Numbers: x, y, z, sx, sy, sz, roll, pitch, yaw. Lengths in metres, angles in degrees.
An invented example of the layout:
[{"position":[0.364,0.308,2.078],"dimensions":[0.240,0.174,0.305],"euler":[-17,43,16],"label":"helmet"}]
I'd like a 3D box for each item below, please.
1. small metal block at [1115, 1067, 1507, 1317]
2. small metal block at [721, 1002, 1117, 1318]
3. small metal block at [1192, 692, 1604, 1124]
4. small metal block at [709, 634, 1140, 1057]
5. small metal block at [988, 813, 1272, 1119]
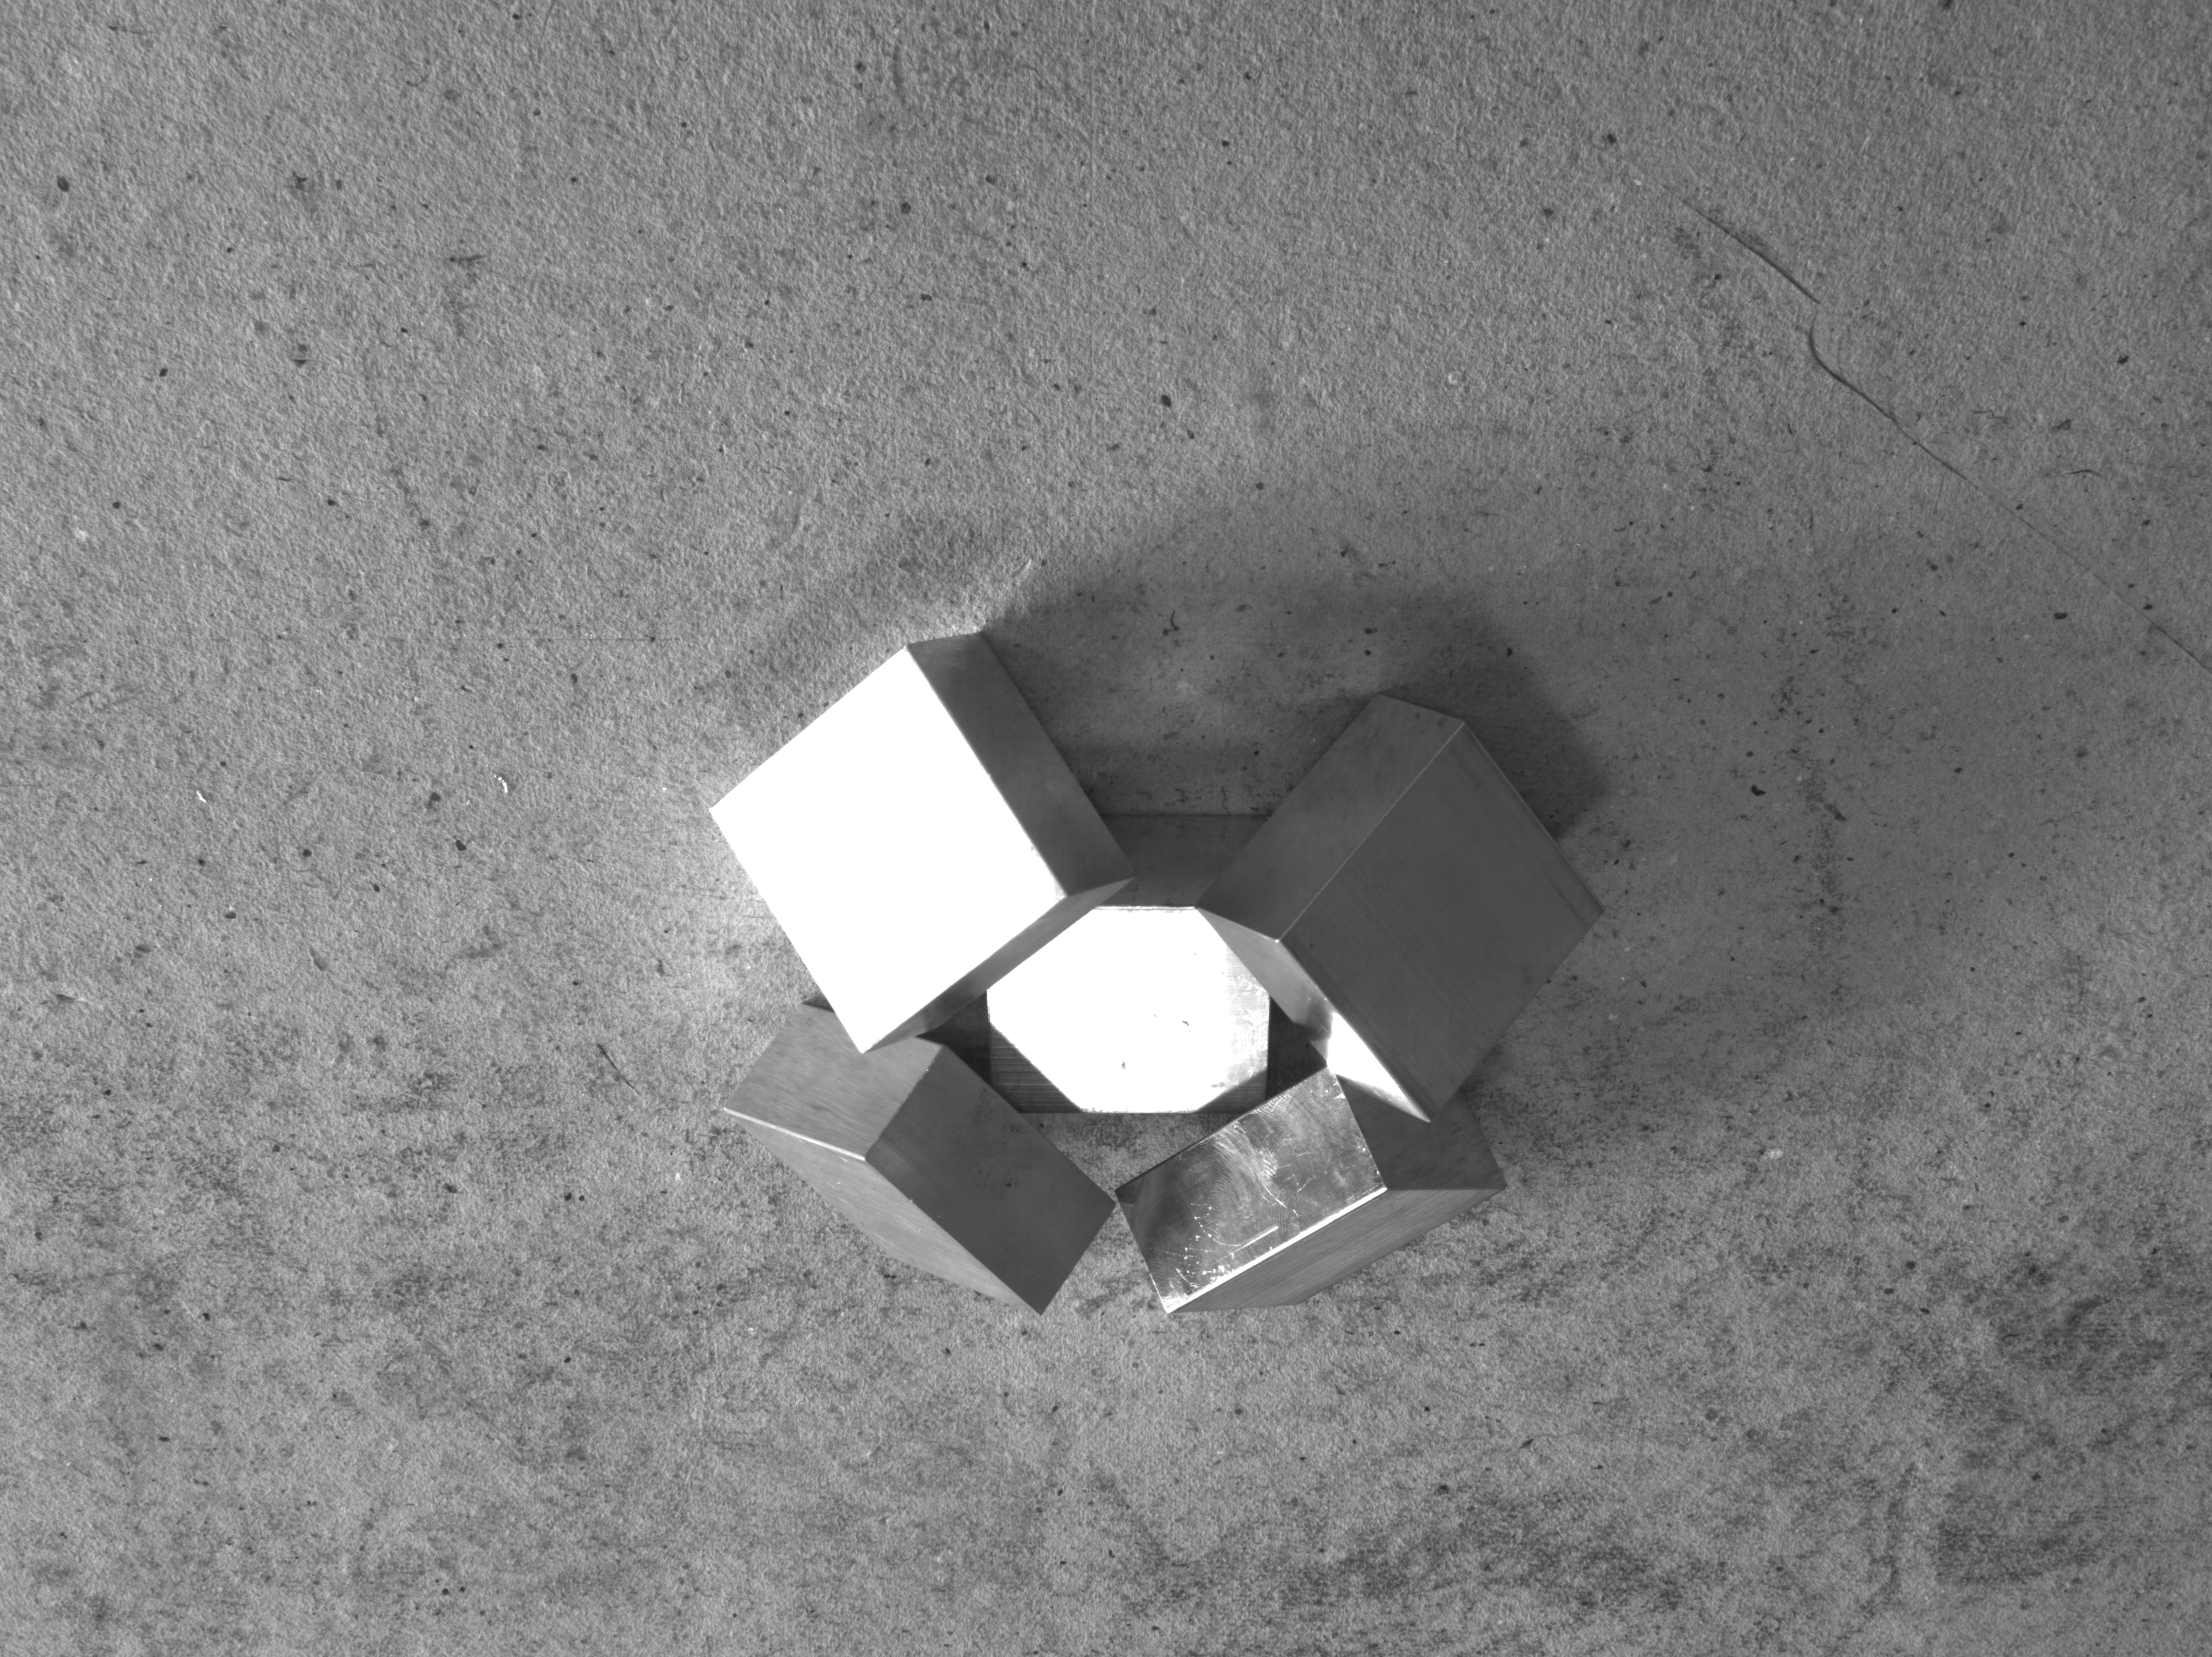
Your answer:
[{"position":[0.038,0.067,0.679],"dimensions":[0.050,0.025,0.050],"euler":[-33,160,25],"label":"small metal block"},{"position":[-0.034,0.060,0.672],"dimensions":[0.050,0.025,0.050],"euler":[45,160,-30],"label":"small metal block"},{"position":[0.051,0.014,0.635],"dimensions":[0.050,0.025,0.050],"euler":[-49,124,-13],"label":"small metal block"},{"position":[-0.031,0.003,0.625],"dimensions":[0.050,0.025,0.050],"euler":[-38,79,27],"label":"small metal block"},{"position":[0.004,0.025,0.660],"dimensions":[0.050,0.025,0.050],"euler":[-1,130,-1],"label":"small metal block"}]
